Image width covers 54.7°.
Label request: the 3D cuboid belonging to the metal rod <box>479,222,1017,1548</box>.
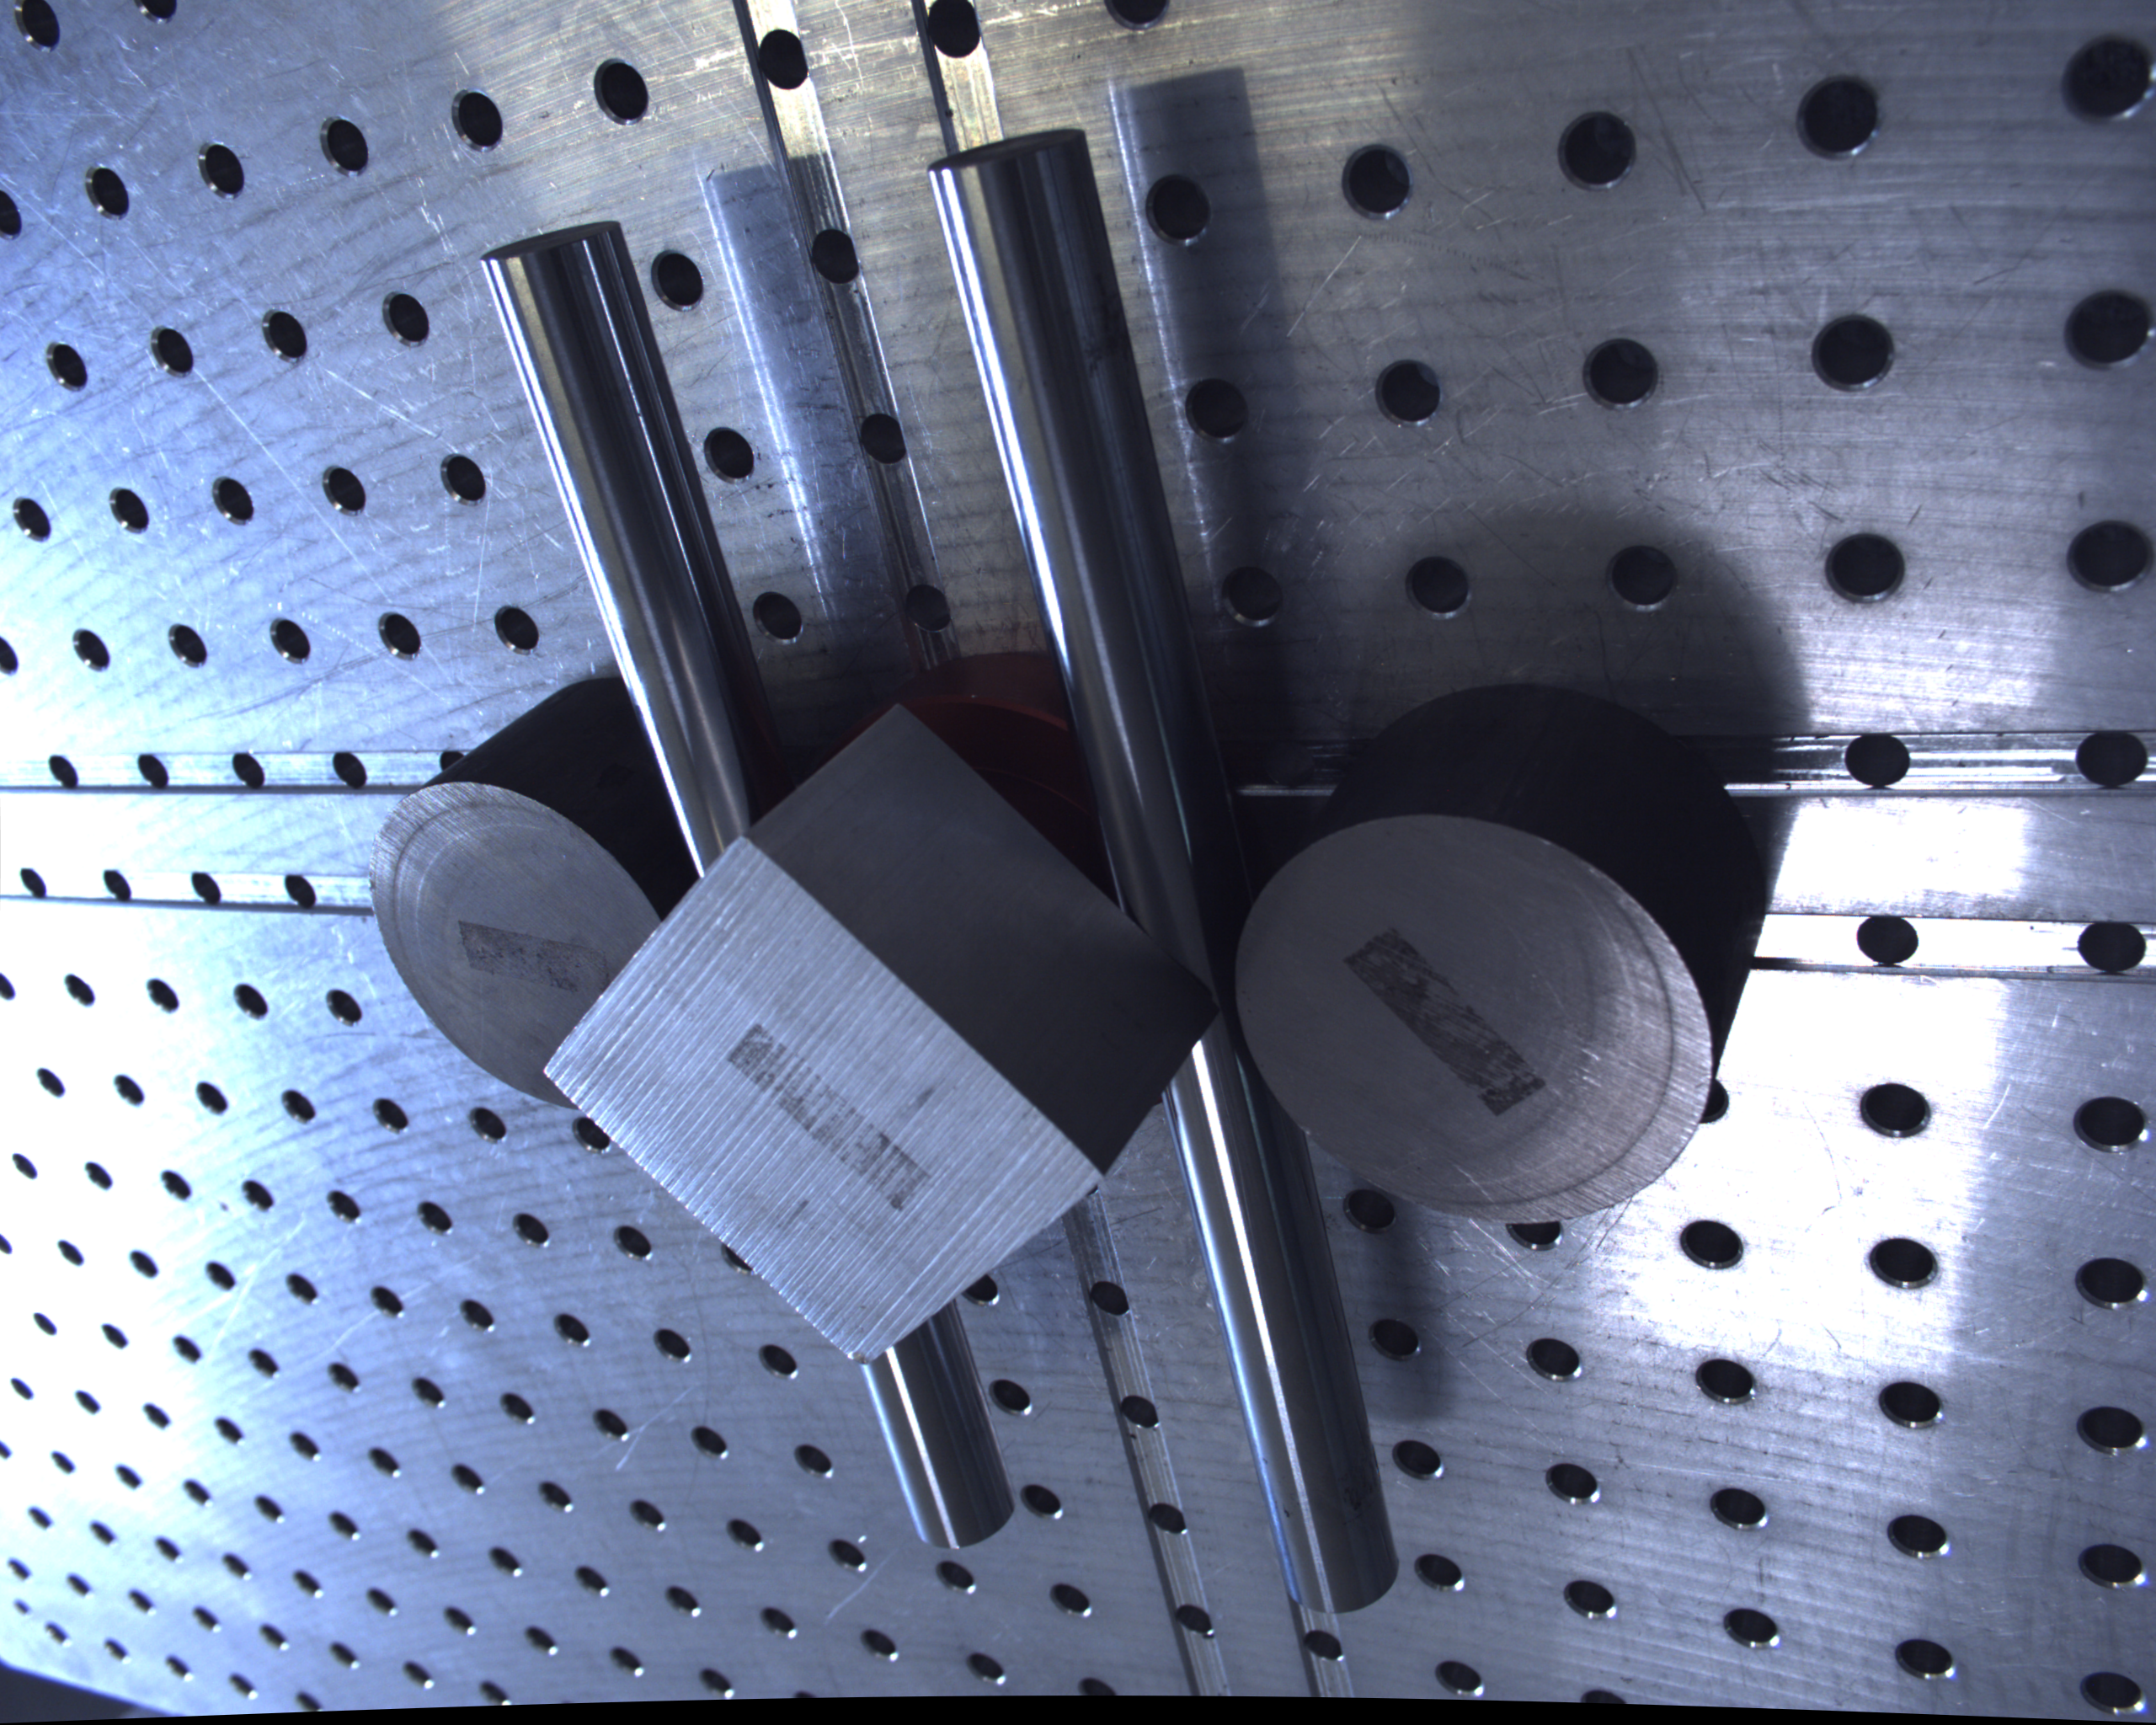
[{"bbox_3d":[-0.060,0.022,0.429,0.025,0.025,0.298,0,119,28],"label":"metal rod"}]

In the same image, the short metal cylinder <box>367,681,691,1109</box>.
[{"bbox_3d":[-0.105,0.007,0.455,0.080,0.050,0.079,13,124,21],"label":"short metal cylinder"}]

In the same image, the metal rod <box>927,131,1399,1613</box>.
[{"bbox_3d":[0.023,0.021,0.385,0.025,0.025,0.298,0,119,28],"label":"metal rod"}]

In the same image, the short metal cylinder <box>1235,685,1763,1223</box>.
[{"bbox_3d":[0.074,0.016,0.365,0.080,0.050,0.079,13,124,21],"label":"short metal cylinder"}]

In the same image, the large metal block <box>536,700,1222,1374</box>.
[{"bbox_3d":[-0.036,0.032,0.373,0.080,0.050,0.080,44,129,-2],"label":"large metal block"}]

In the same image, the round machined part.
[{"bbox_3d":[-0.014,0.011,0.415,0.098,0.042,0.097,13,124,21],"label":"round machined part"}]
